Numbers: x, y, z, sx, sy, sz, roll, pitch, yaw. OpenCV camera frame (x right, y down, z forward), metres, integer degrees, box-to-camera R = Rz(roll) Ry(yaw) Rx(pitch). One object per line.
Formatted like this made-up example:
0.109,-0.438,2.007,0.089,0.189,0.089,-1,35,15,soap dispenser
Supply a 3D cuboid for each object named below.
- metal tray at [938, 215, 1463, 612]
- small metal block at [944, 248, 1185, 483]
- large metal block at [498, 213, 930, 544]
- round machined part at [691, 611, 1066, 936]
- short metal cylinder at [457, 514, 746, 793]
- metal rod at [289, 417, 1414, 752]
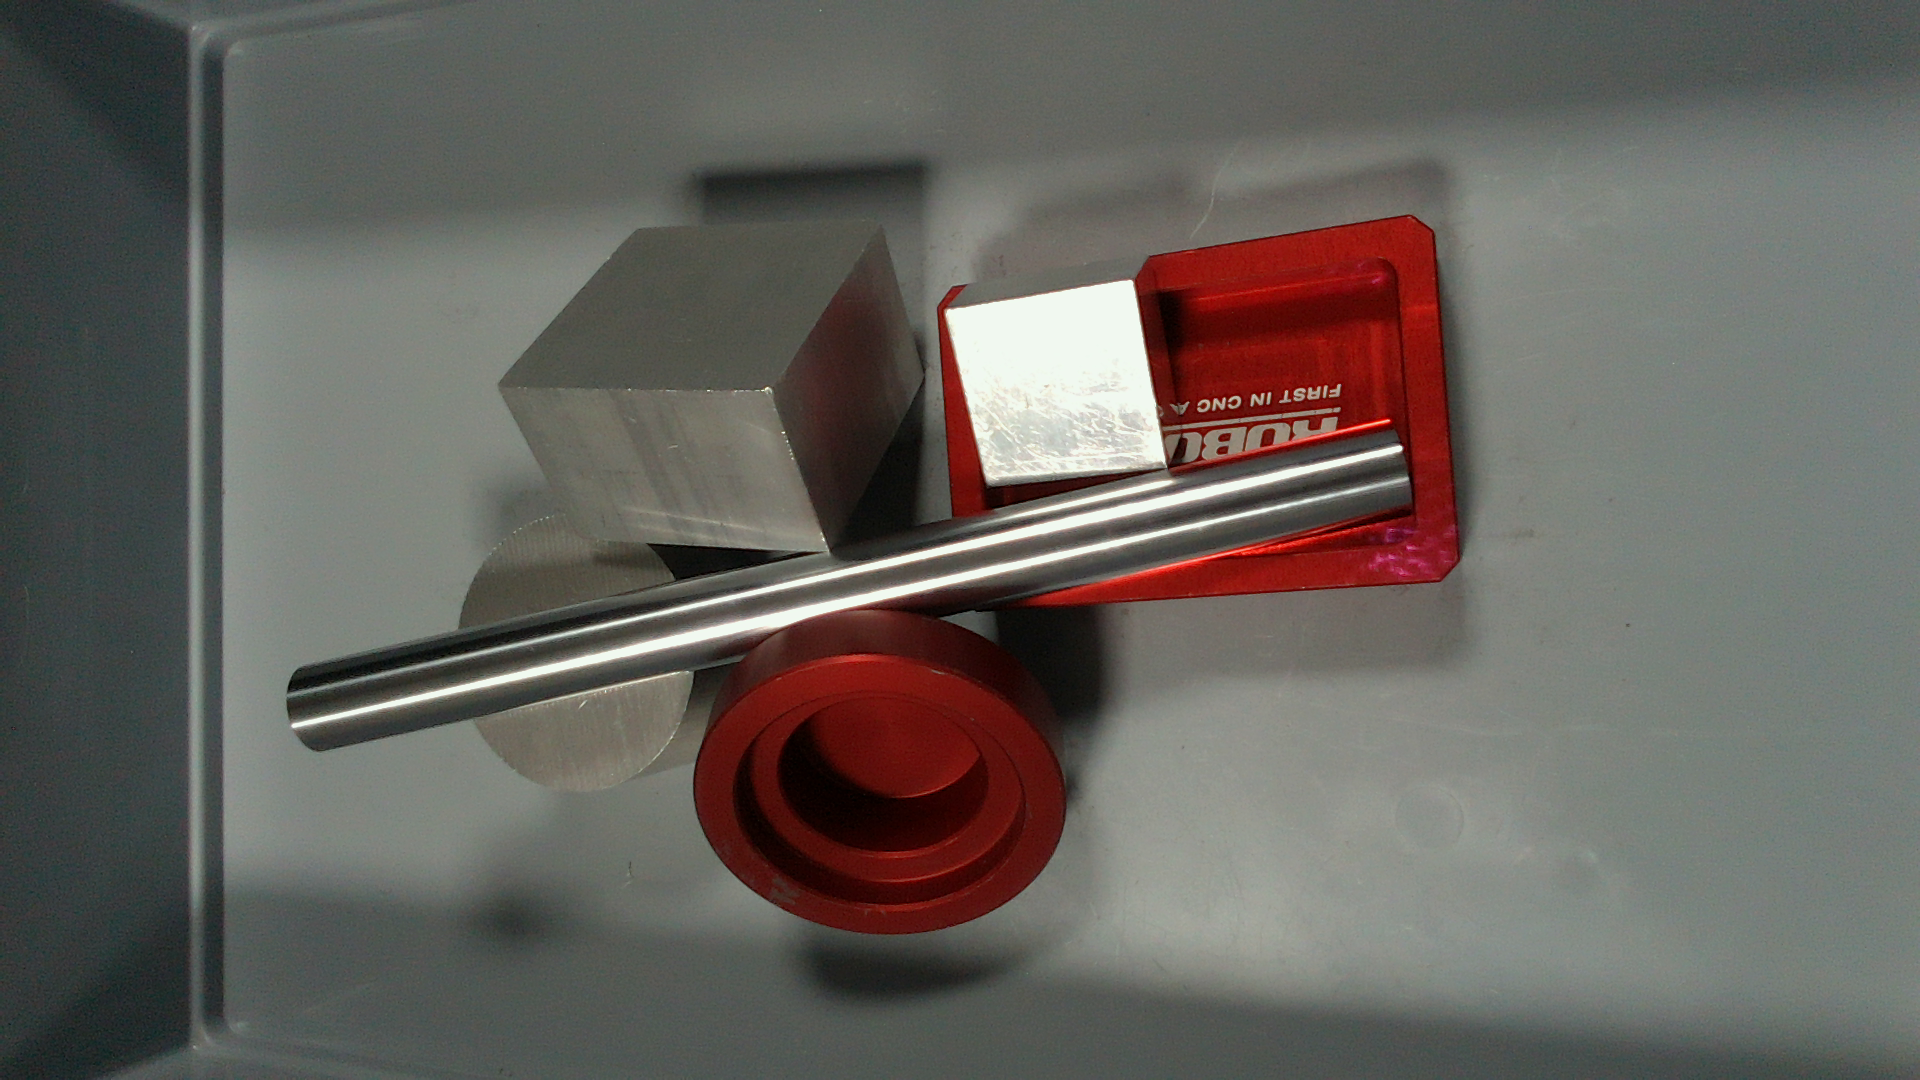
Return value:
0.063,-0.030,0.369,0.130,0.030,0.090,-5,88,20,metal tray
0.029,-0.045,0.361,0.050,0.025,0.050,-5,114,20,small metal block
-0.063,-0.046,0.380,0.080,0.080,0.050,3,133,21,large metal block
-0.020,0.059,0.376,0.098,0.042,0.098,1,122,2,round machined part
-0.104,0.032,0.418,0.080,0.050,0.080,0,90,20,short metal cylinder
-0.035,0.014,0.363,0.300,0.025,0.025,-13,86,9,metal rod
